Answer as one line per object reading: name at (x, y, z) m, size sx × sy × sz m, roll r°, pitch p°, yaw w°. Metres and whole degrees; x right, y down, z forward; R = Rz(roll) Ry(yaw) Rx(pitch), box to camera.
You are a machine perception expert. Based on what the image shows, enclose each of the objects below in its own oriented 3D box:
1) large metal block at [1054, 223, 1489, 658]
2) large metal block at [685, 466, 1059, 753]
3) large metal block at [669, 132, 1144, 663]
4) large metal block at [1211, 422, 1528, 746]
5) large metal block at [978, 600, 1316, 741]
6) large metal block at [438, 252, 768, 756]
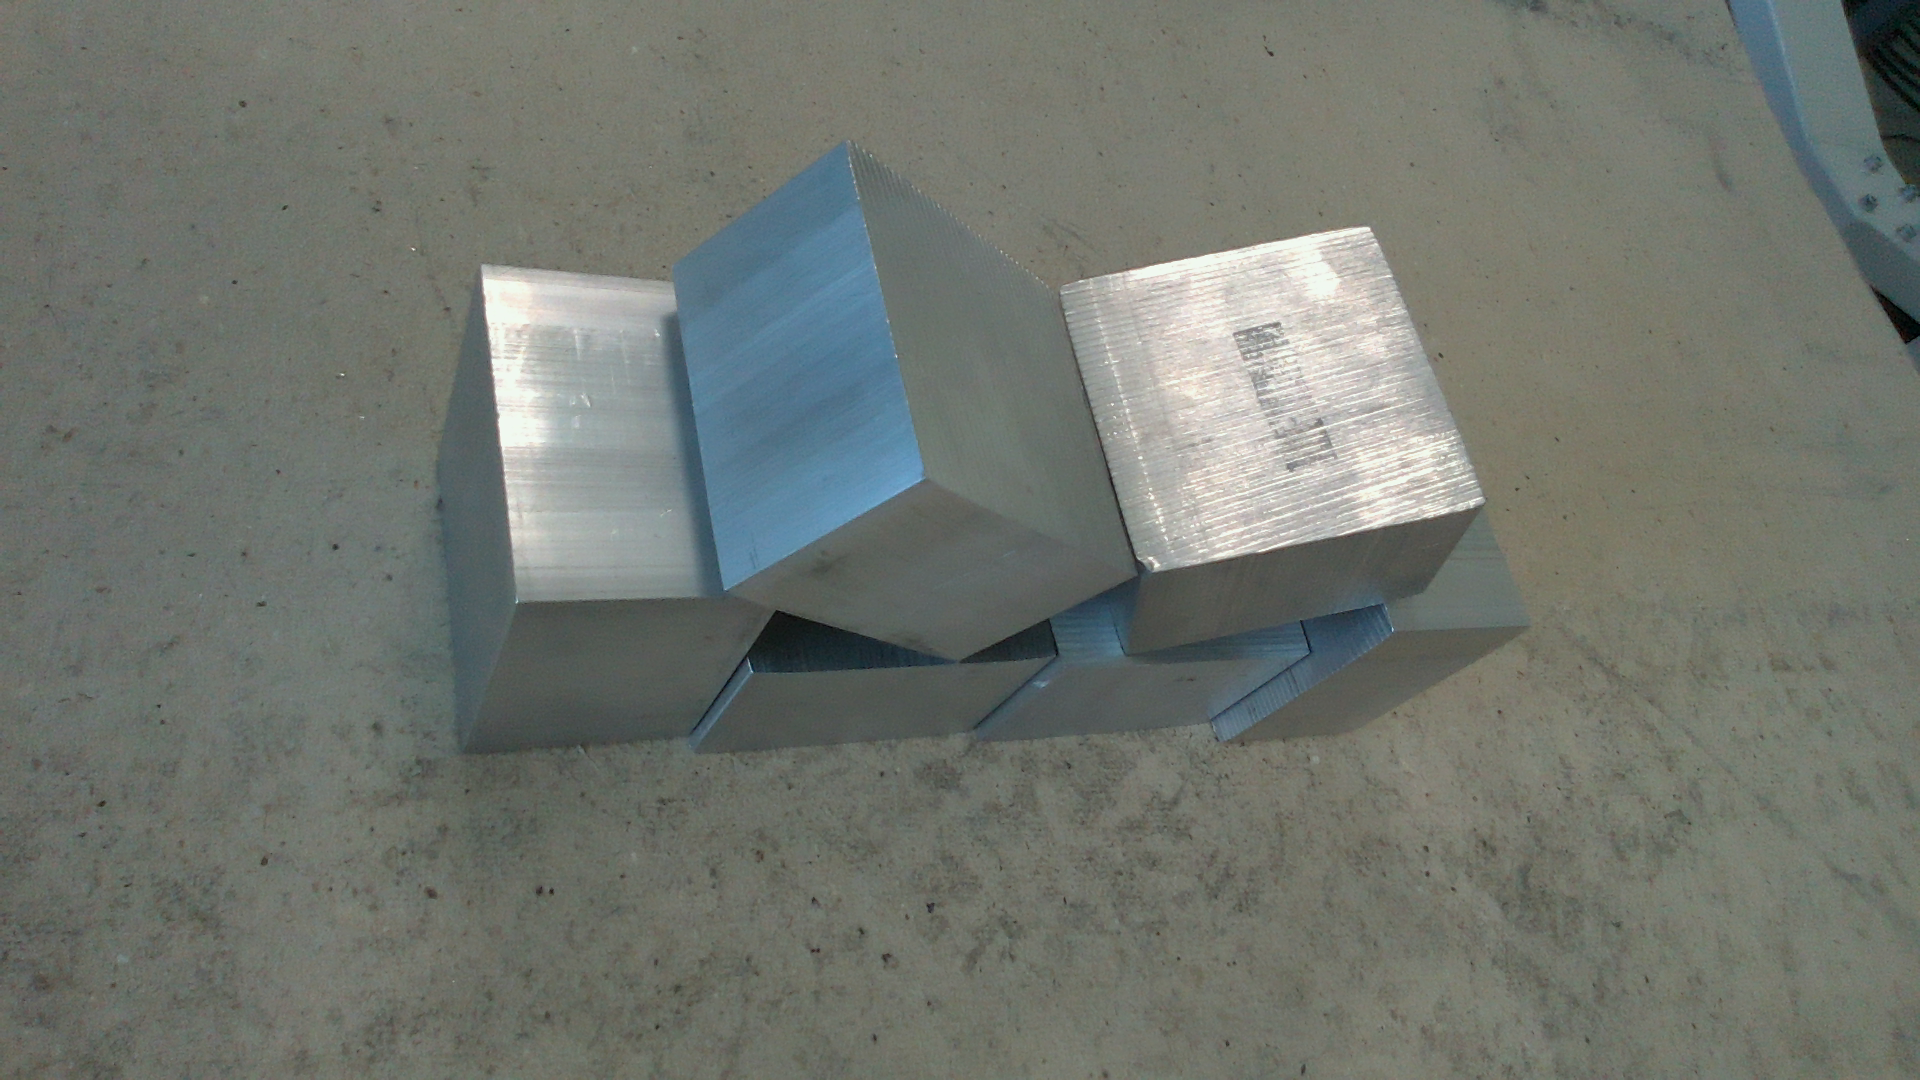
large metal block at (0.071, -0.024, 0.343) m, size 0.080 × 0.050 × 0.080 m, roll -12°, pitch 64°, yaw -4°
large metal block at (-0.030, 0.005, 0.354) m, size 0.080 × 0.050 × 0.080 m, roll 0°, pitch 62°, yaw -28°
large metal block at (-0.011, -0.026, 0.299) m, size 0.080 × 0.050 × 0.080 m, roll 23°, pitch 46°, yaw -52°
large metal block at (0.107, 0.007, 0.409) m, size 0.050 × 0.080 × 0.080 m, roll 0°, pitch 61°, yaw -29°
large metal block at (0.042, 0.008, 0.390) m, size 0.080 × 0.050 × 0.080 m, roll 0°, pitch 62°, yaw -28°
large metal block at (-0.084, -0.006, 0.312) m, size 0.050 × 0.080 × 0.080 m, roll -1°, pitch 61°, yaw -28°
